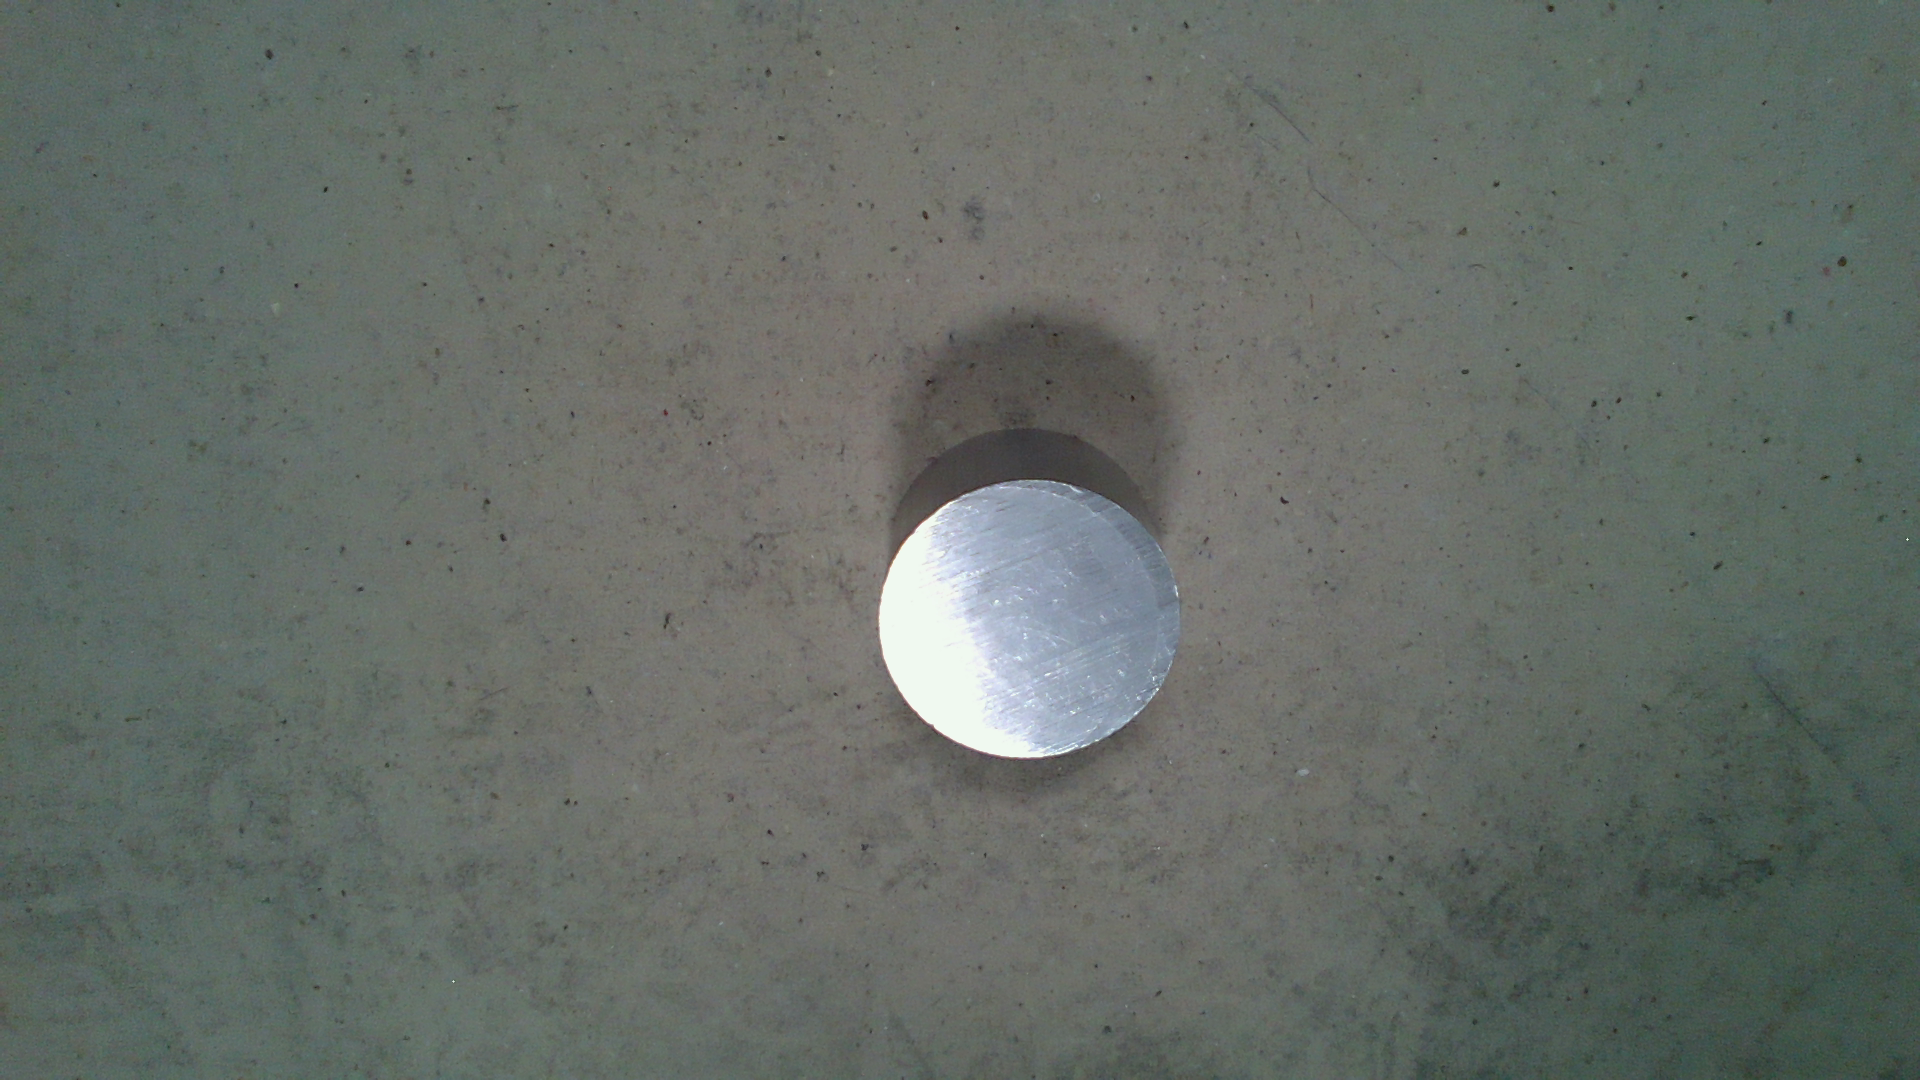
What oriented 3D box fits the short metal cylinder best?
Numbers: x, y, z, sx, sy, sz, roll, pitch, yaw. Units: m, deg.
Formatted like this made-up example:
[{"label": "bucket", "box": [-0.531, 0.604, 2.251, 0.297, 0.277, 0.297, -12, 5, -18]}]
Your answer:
[{"label": "short metal cylinder", "box": [0.019, 0.013, 0.386, 0.080, 0.050, 0.080, 0, 110, 0]}]
